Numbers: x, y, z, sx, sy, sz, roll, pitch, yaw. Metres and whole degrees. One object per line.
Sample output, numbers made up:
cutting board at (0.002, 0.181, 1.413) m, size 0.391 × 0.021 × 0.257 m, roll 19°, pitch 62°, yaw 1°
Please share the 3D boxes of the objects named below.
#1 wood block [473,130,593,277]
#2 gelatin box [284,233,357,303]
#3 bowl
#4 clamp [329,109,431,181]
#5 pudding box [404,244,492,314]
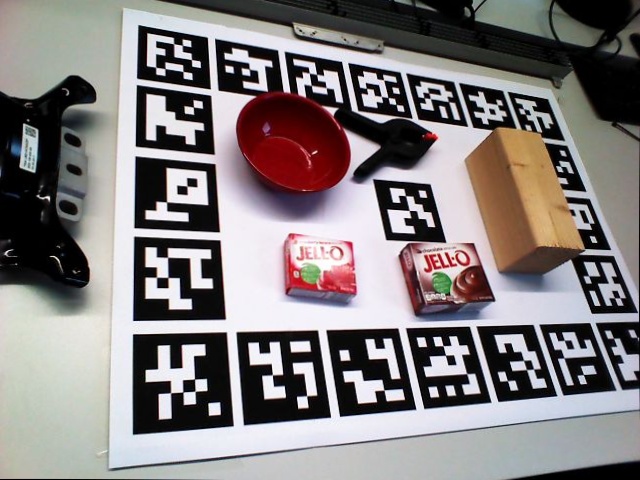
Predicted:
wood block at (0.317, -0.057, 0.785) m, size 0.090 × 0.091 × 0.205 m, roll 5°, pitch 63°, yaw -22°
gelatin box at (0.001, 0.035, 0.640) m, size 0.089 × 0.030 × 0.073 m, roll 10°, pitch 63°, yaw -18°
bowl at (-0.043, -0.121, 0.697) m, size 0.161 × 0.055 × 0.161 m, roll 9°, pitch 64°, yaw -20°
clamp at (0.097, -0.148, 0.783) m, size 0.164 × 0.037 × 0.121 m, roll -8°, pitch 67°, yaw -28°
pudding box at (0.176, 0.052, 0.701) m, size 0.113 × 0.039 × 0.089 m, roll 1°, pitch 68°, yaw -20°
